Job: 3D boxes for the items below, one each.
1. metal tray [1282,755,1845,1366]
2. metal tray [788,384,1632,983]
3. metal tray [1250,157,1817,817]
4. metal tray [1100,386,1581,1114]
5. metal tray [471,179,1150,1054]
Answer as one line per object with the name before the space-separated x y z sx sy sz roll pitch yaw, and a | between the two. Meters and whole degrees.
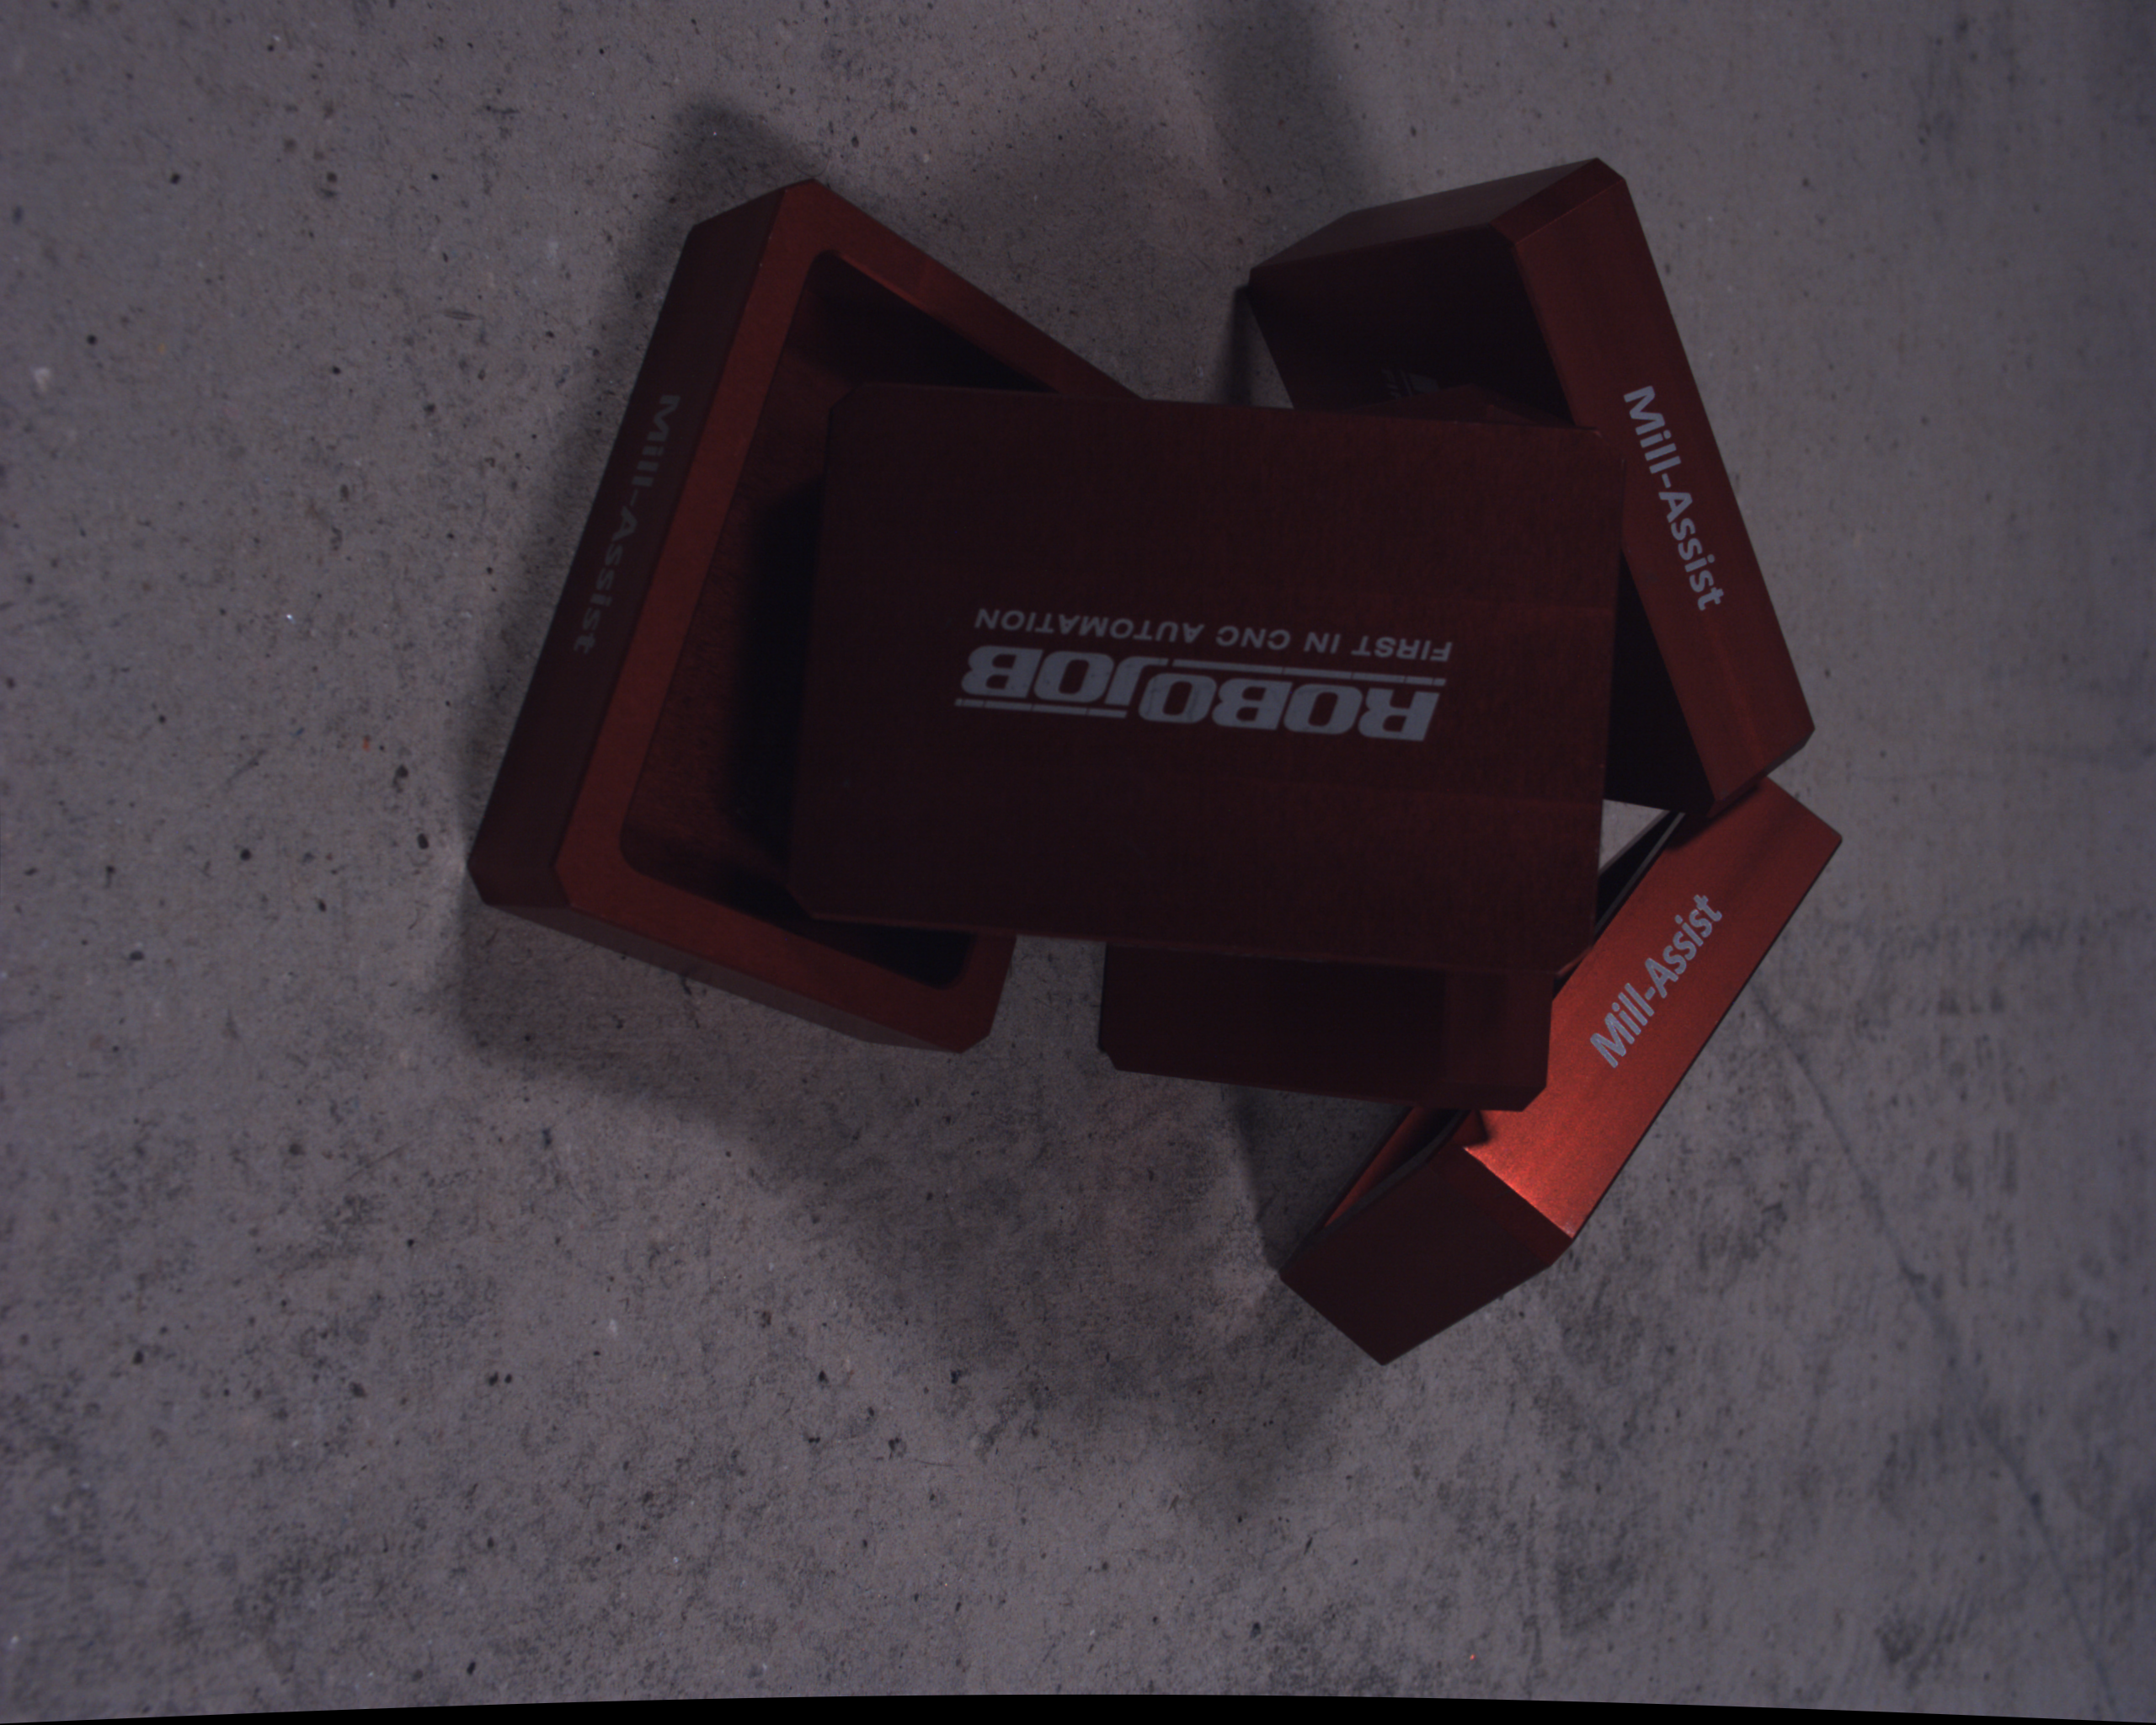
metal tray | 0.105 0.043 0.454 0.030 0.090 0.131 41 60 6
metal tray | 0.022 -0.029 0.353 0.131 0.030 0.089 5 86 4
metal tray | 0.095 -0.076 0.443 0.030 0.090 0.129 -35 112 -19
metal tray | 0.050 -0.020 0.408 0.030 0.090 0.129 8 85 -40
metal tray | -0.041 -0.040 0.370 0.090 0.030 0.130 25 74 -37
